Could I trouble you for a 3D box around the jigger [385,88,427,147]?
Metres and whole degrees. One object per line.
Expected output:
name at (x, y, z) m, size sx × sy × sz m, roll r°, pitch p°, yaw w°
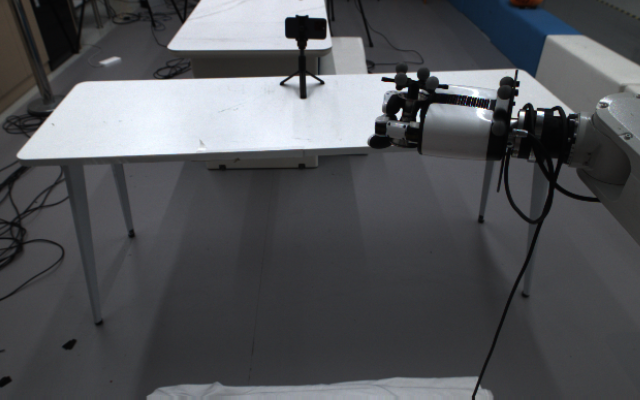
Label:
jigger at (0.123, -0.111, 0.674) m, size 0.043 × 0.071 × 0.043 m, roll 6°, pitch 26°, yaw -3°
